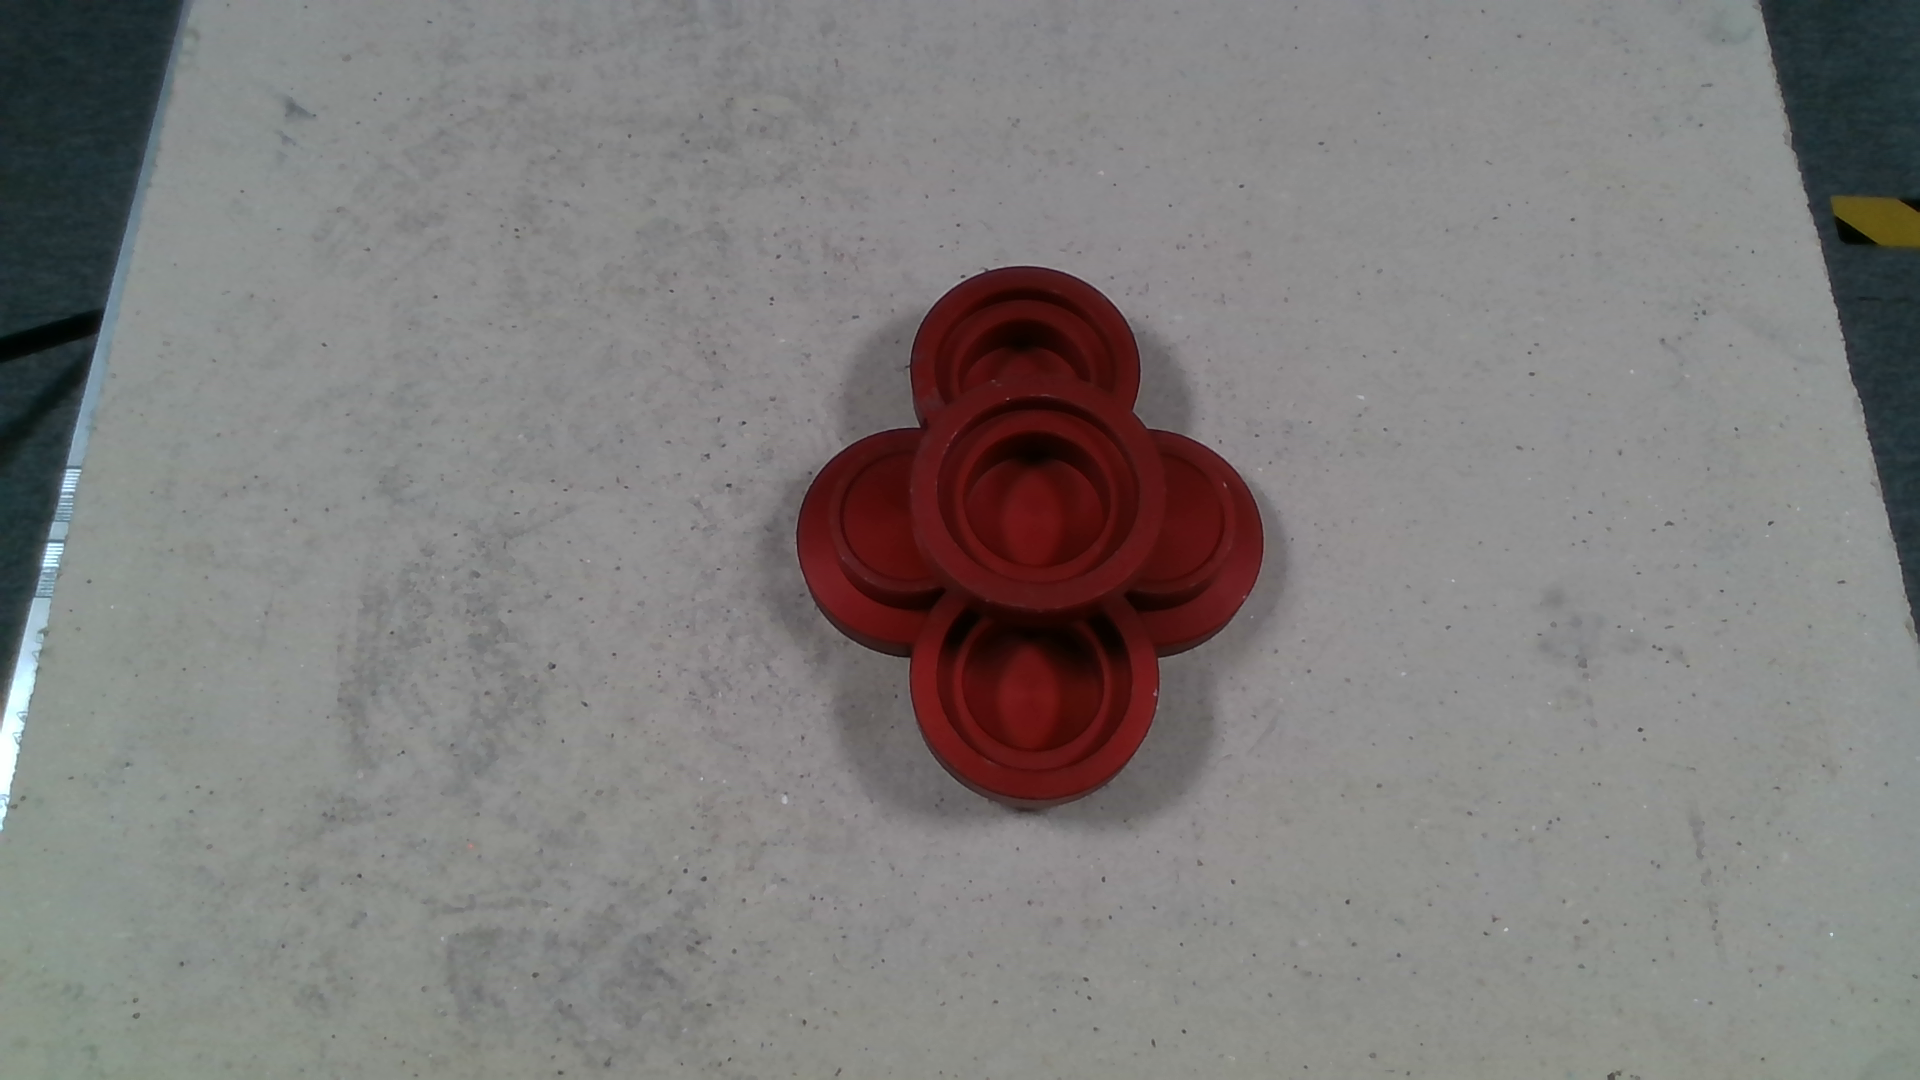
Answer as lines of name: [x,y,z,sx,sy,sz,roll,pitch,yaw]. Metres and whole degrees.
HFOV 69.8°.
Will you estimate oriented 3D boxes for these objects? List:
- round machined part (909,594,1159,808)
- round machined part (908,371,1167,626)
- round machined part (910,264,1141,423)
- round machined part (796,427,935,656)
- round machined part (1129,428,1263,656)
round machined part: [0.029,0.060,0.558,0.098,0.042,0.098,0,70,0]
round machined part: [0.029,-0.013,0.539,0.098,0.042,0.098,0,70,0]
round machined part: [0.028,-0.068,0.603,0.098,0.042,0.098,0,70,0]
round machined part: [-0.020,-0.003,0.580,0.098,0.042,0.098,0,70,0]
round machined part: [0.079,-0.003,0.580,0.098,0.042,0.098,0,70,0]
